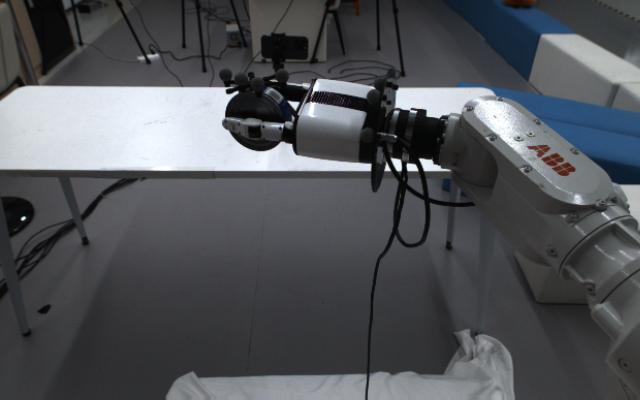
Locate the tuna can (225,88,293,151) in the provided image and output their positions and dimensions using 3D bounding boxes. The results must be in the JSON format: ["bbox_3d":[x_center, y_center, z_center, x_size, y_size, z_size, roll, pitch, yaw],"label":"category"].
[{"bbox_3d":[-0.082,-0.113,0.658,0.085,0.085,0.034,11,34,12],"label":"tuna can"}]
